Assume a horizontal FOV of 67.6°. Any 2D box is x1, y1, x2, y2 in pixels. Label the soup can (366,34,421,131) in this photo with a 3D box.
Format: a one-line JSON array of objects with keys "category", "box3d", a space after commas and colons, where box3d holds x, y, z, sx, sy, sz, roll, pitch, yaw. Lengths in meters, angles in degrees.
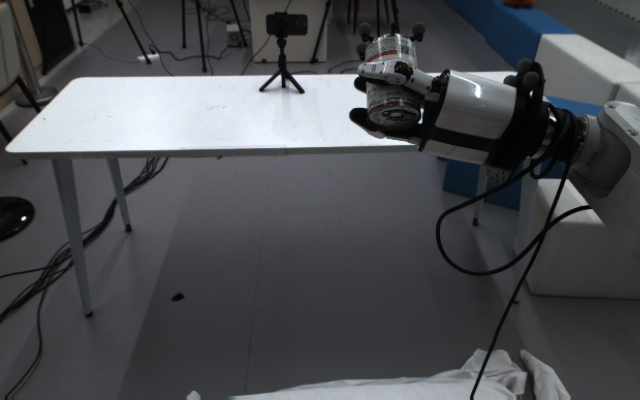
[{"category": "soup can", "box3d": [0.093, -0.149, 0.614, 0.067, 0.067, 0.101, 1, 72, -2]}]
